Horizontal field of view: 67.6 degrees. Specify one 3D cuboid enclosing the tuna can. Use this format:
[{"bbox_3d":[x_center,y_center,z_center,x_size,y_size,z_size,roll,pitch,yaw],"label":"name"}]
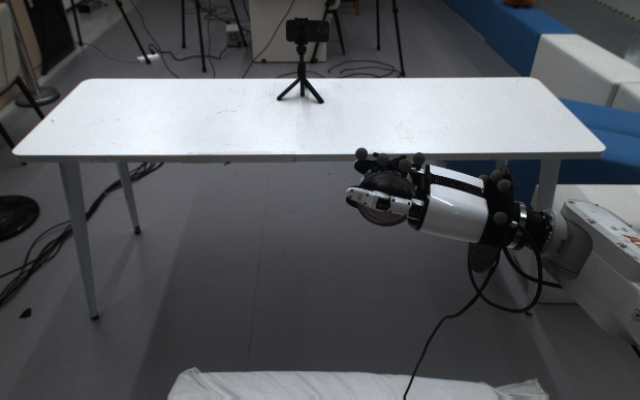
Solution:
[{"bbox_3d":[0.097,-0.007,0.697,0.085,0.085,0.034,7,21,7],"label":"tuna can"}]
